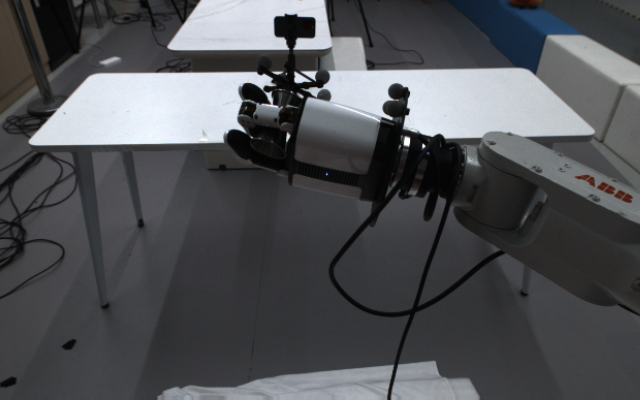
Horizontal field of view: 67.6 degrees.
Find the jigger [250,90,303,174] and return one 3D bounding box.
[{"bbox_3d":[-0.044,-0.086,0.553,0.043,0.043,0.071,12,71,14],"label":"jigger"}]
